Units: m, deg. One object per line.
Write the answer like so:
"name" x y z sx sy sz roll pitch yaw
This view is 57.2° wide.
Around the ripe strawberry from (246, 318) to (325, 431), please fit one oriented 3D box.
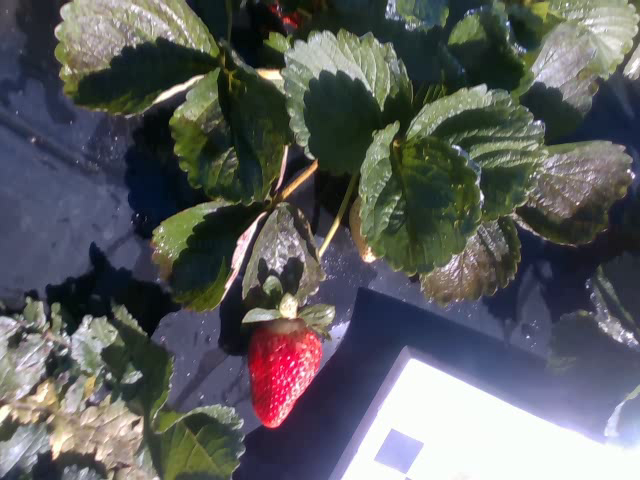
"ripe strawberry" -0.019 0.075 0.331 0.048 0.069 0.040 8 3 -4
